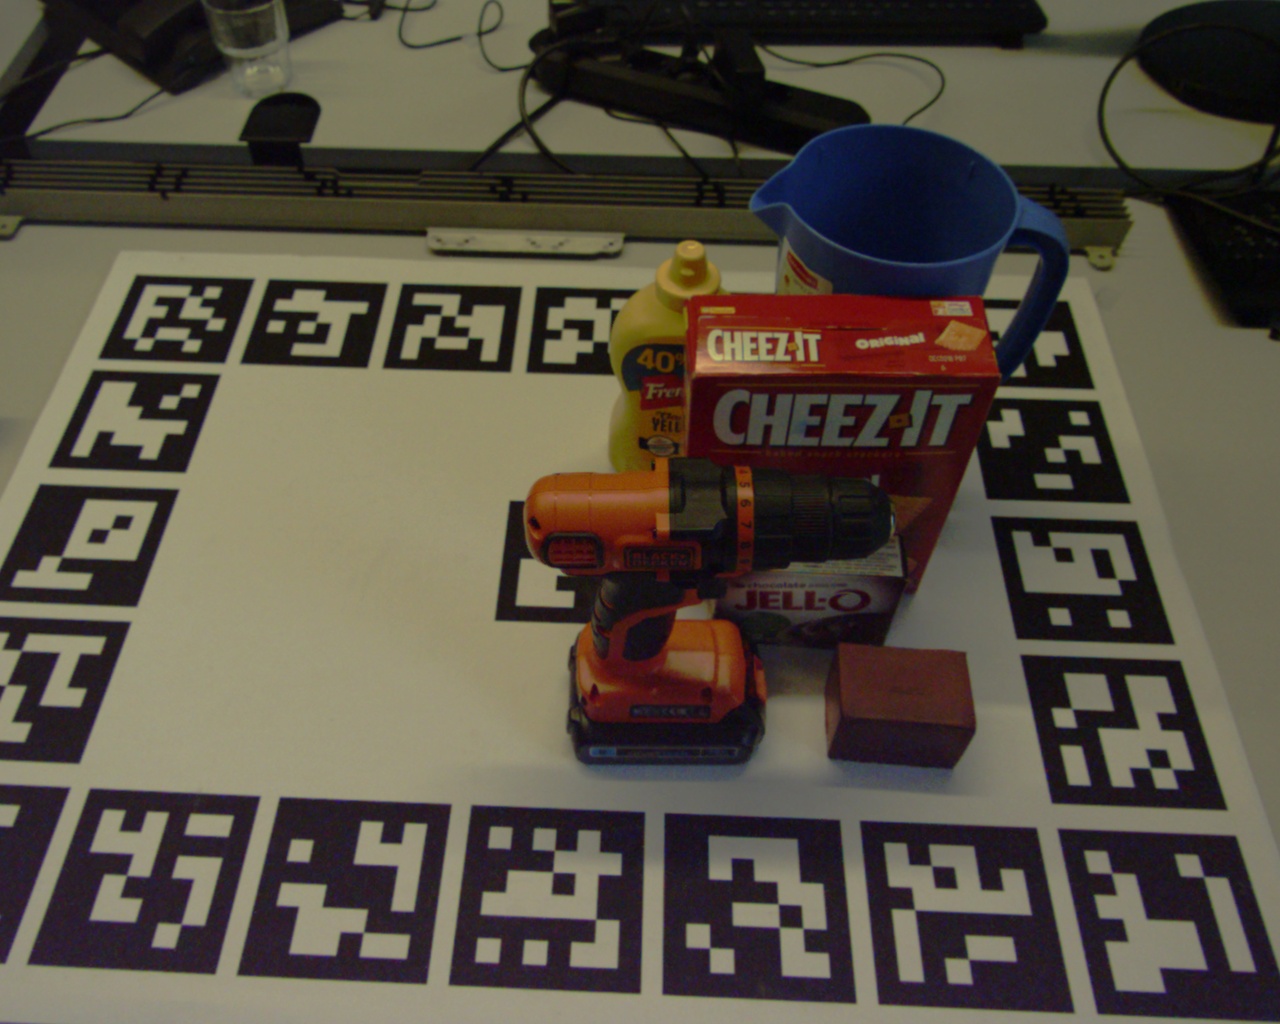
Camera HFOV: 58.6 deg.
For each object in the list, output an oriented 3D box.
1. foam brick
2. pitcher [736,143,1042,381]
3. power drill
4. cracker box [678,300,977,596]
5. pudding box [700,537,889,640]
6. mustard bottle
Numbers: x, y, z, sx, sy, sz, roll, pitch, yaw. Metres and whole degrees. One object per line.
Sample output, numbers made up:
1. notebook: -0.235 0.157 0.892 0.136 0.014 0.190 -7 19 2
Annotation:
1. foam brick: 0.151 0.115 0.716 0.078 0.051 0.053 4 55 2
2. pitcher: 0.155 -0.112 0.773 0.189 0.241 0.133 6 53 6
3. power drill: 0.033 0.048 0.640 0.184 0.186 0.057 1 50 0
4. cracker box: 0.105 -0.029 0.717 0.164 0.212 0.072 -1 51 2
5. pudding box: 0.096 0.042 0.730 0.114 0.089 0.039 1 52 4
6. mustard bottle: 0.022 -0.109 0.785 0.096 0.191 0.058 13 55 9
